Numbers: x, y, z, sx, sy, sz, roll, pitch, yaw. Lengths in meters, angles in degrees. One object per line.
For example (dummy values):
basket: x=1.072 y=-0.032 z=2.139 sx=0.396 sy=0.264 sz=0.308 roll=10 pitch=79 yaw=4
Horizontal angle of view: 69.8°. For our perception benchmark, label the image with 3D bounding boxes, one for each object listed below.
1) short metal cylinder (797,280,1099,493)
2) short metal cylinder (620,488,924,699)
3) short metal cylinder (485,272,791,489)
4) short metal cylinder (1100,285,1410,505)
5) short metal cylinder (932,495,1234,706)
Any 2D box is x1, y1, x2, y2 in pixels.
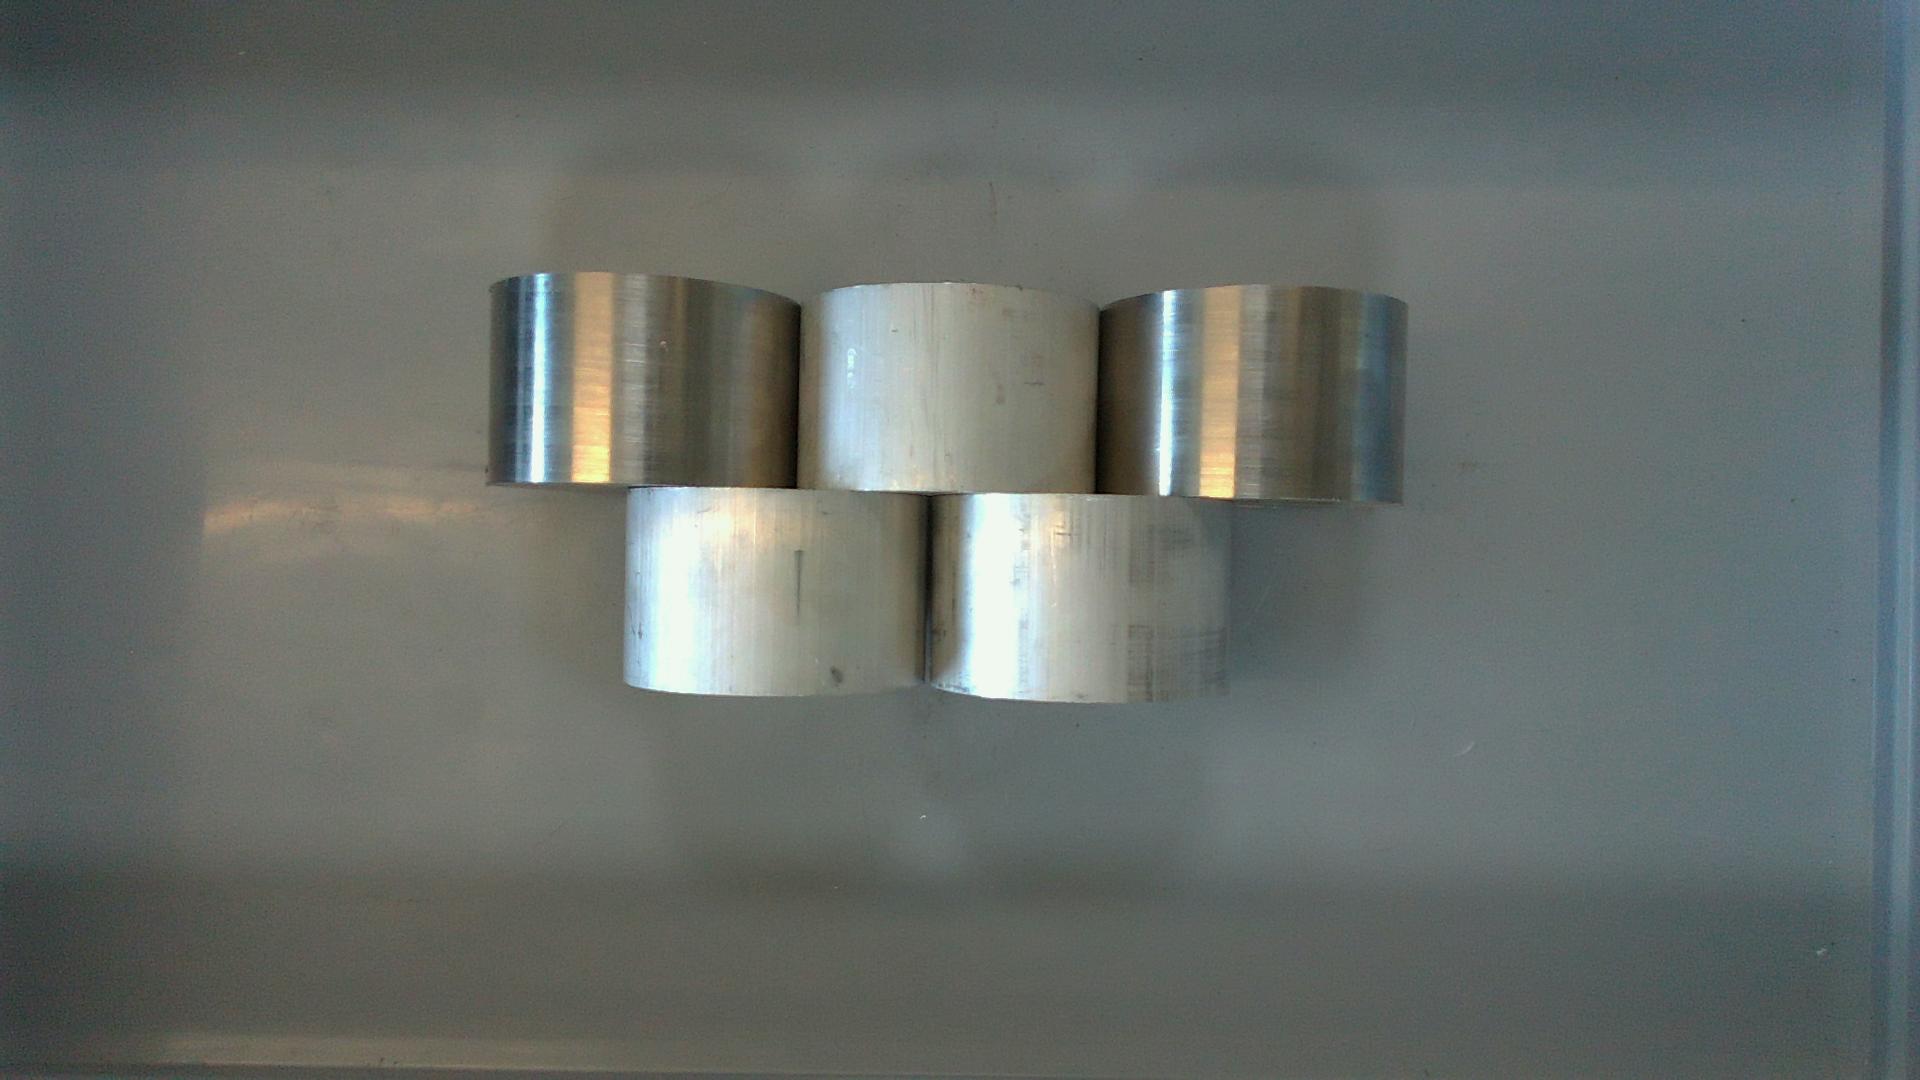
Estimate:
short metal cylinder: x=-0.003 y=-0.037 z=0.366 sx=0.080 sy=0.080 sz=0.050 roll=1 pitch=90 yaw=0
short metal cylinder: x=-0.049 y=0.012 z=0.366 sx=0.080 sy=0.080 sz=0.050 roll=1 pitch=90 yaw=0
short metal cylinder: x=-0.084 y=-0.039 z=0.366 sx=0.080 sy=0.080 sz=0.050 roll=1 pitch=90 yaw=0
short metal cylinder: x=0.077 y=-0.036 z=0.367 sx=0.080 sy=0.080 sz=0.050 roll=2 pitch=90 yaw=0
short metal cylinder: x=0.032 y=0.014 z=0.367 sx=0.080 sy=0.080 sz=0.050 roll=1 pitch=90 yaw=0
